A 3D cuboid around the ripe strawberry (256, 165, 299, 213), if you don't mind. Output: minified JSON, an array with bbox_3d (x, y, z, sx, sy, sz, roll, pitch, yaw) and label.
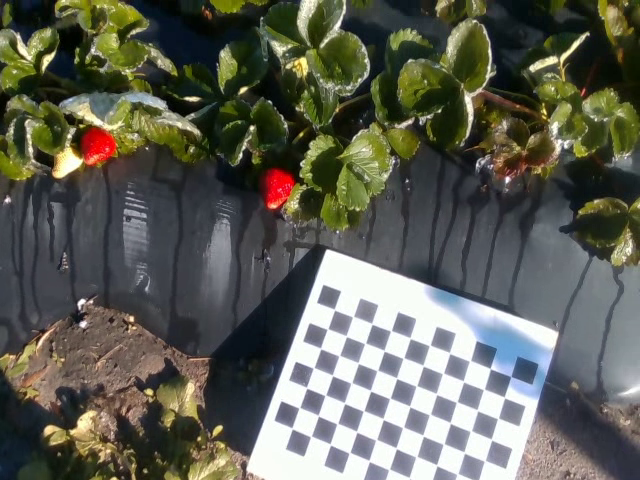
[{"bbox_3d":[-0.045,-0.049,0.571,0.041,0.047,0.053,12,43,8],"label":"ripe strawberry"}]

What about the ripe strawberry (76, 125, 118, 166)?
[{"bbox_3d":[-0.235,-0.093,0.598,0.038,0.040,0.051,4,33,7],"label":"ripe strawberry"}]
